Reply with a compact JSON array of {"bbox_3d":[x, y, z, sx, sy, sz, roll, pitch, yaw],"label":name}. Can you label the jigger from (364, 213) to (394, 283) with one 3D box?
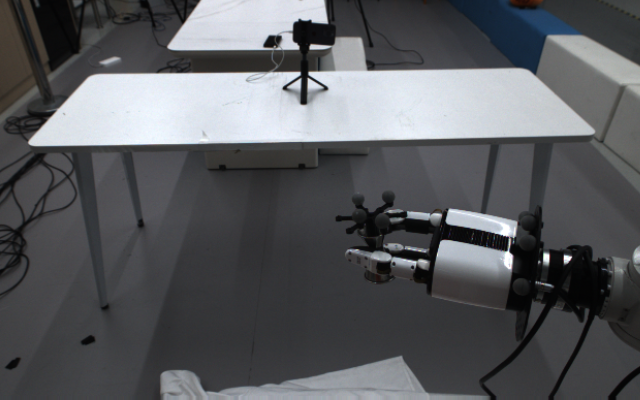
[{"bbox_3d":[0.074,0.065,0.622,0.043,0.071,0.043,-11,23,5],"label":"jigger"}]
